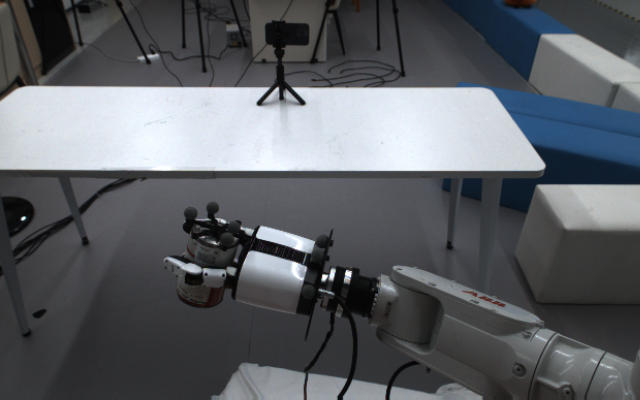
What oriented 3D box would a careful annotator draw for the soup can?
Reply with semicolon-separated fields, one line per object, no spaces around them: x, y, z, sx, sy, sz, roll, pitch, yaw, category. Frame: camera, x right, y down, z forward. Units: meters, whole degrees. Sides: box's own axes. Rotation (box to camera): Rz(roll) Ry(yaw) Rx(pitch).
-0.153;0.090;0.665;0.067;0.101;0.067;17;22;-7;soup can
